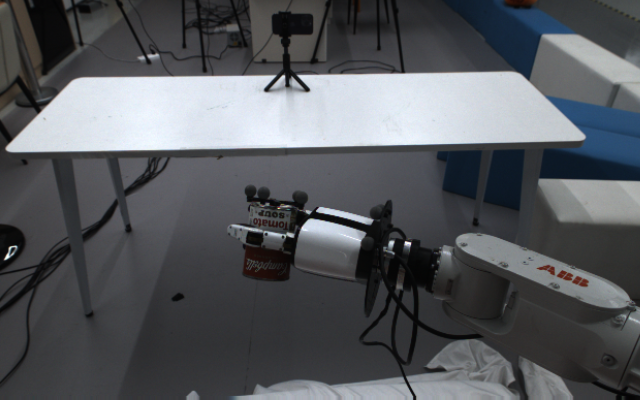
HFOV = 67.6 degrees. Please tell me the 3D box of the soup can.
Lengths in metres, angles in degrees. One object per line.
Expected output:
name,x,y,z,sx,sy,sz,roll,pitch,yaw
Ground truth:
soup can,-0.069,0.058,0.678,0.067,0.101,0.067,7,3,0
